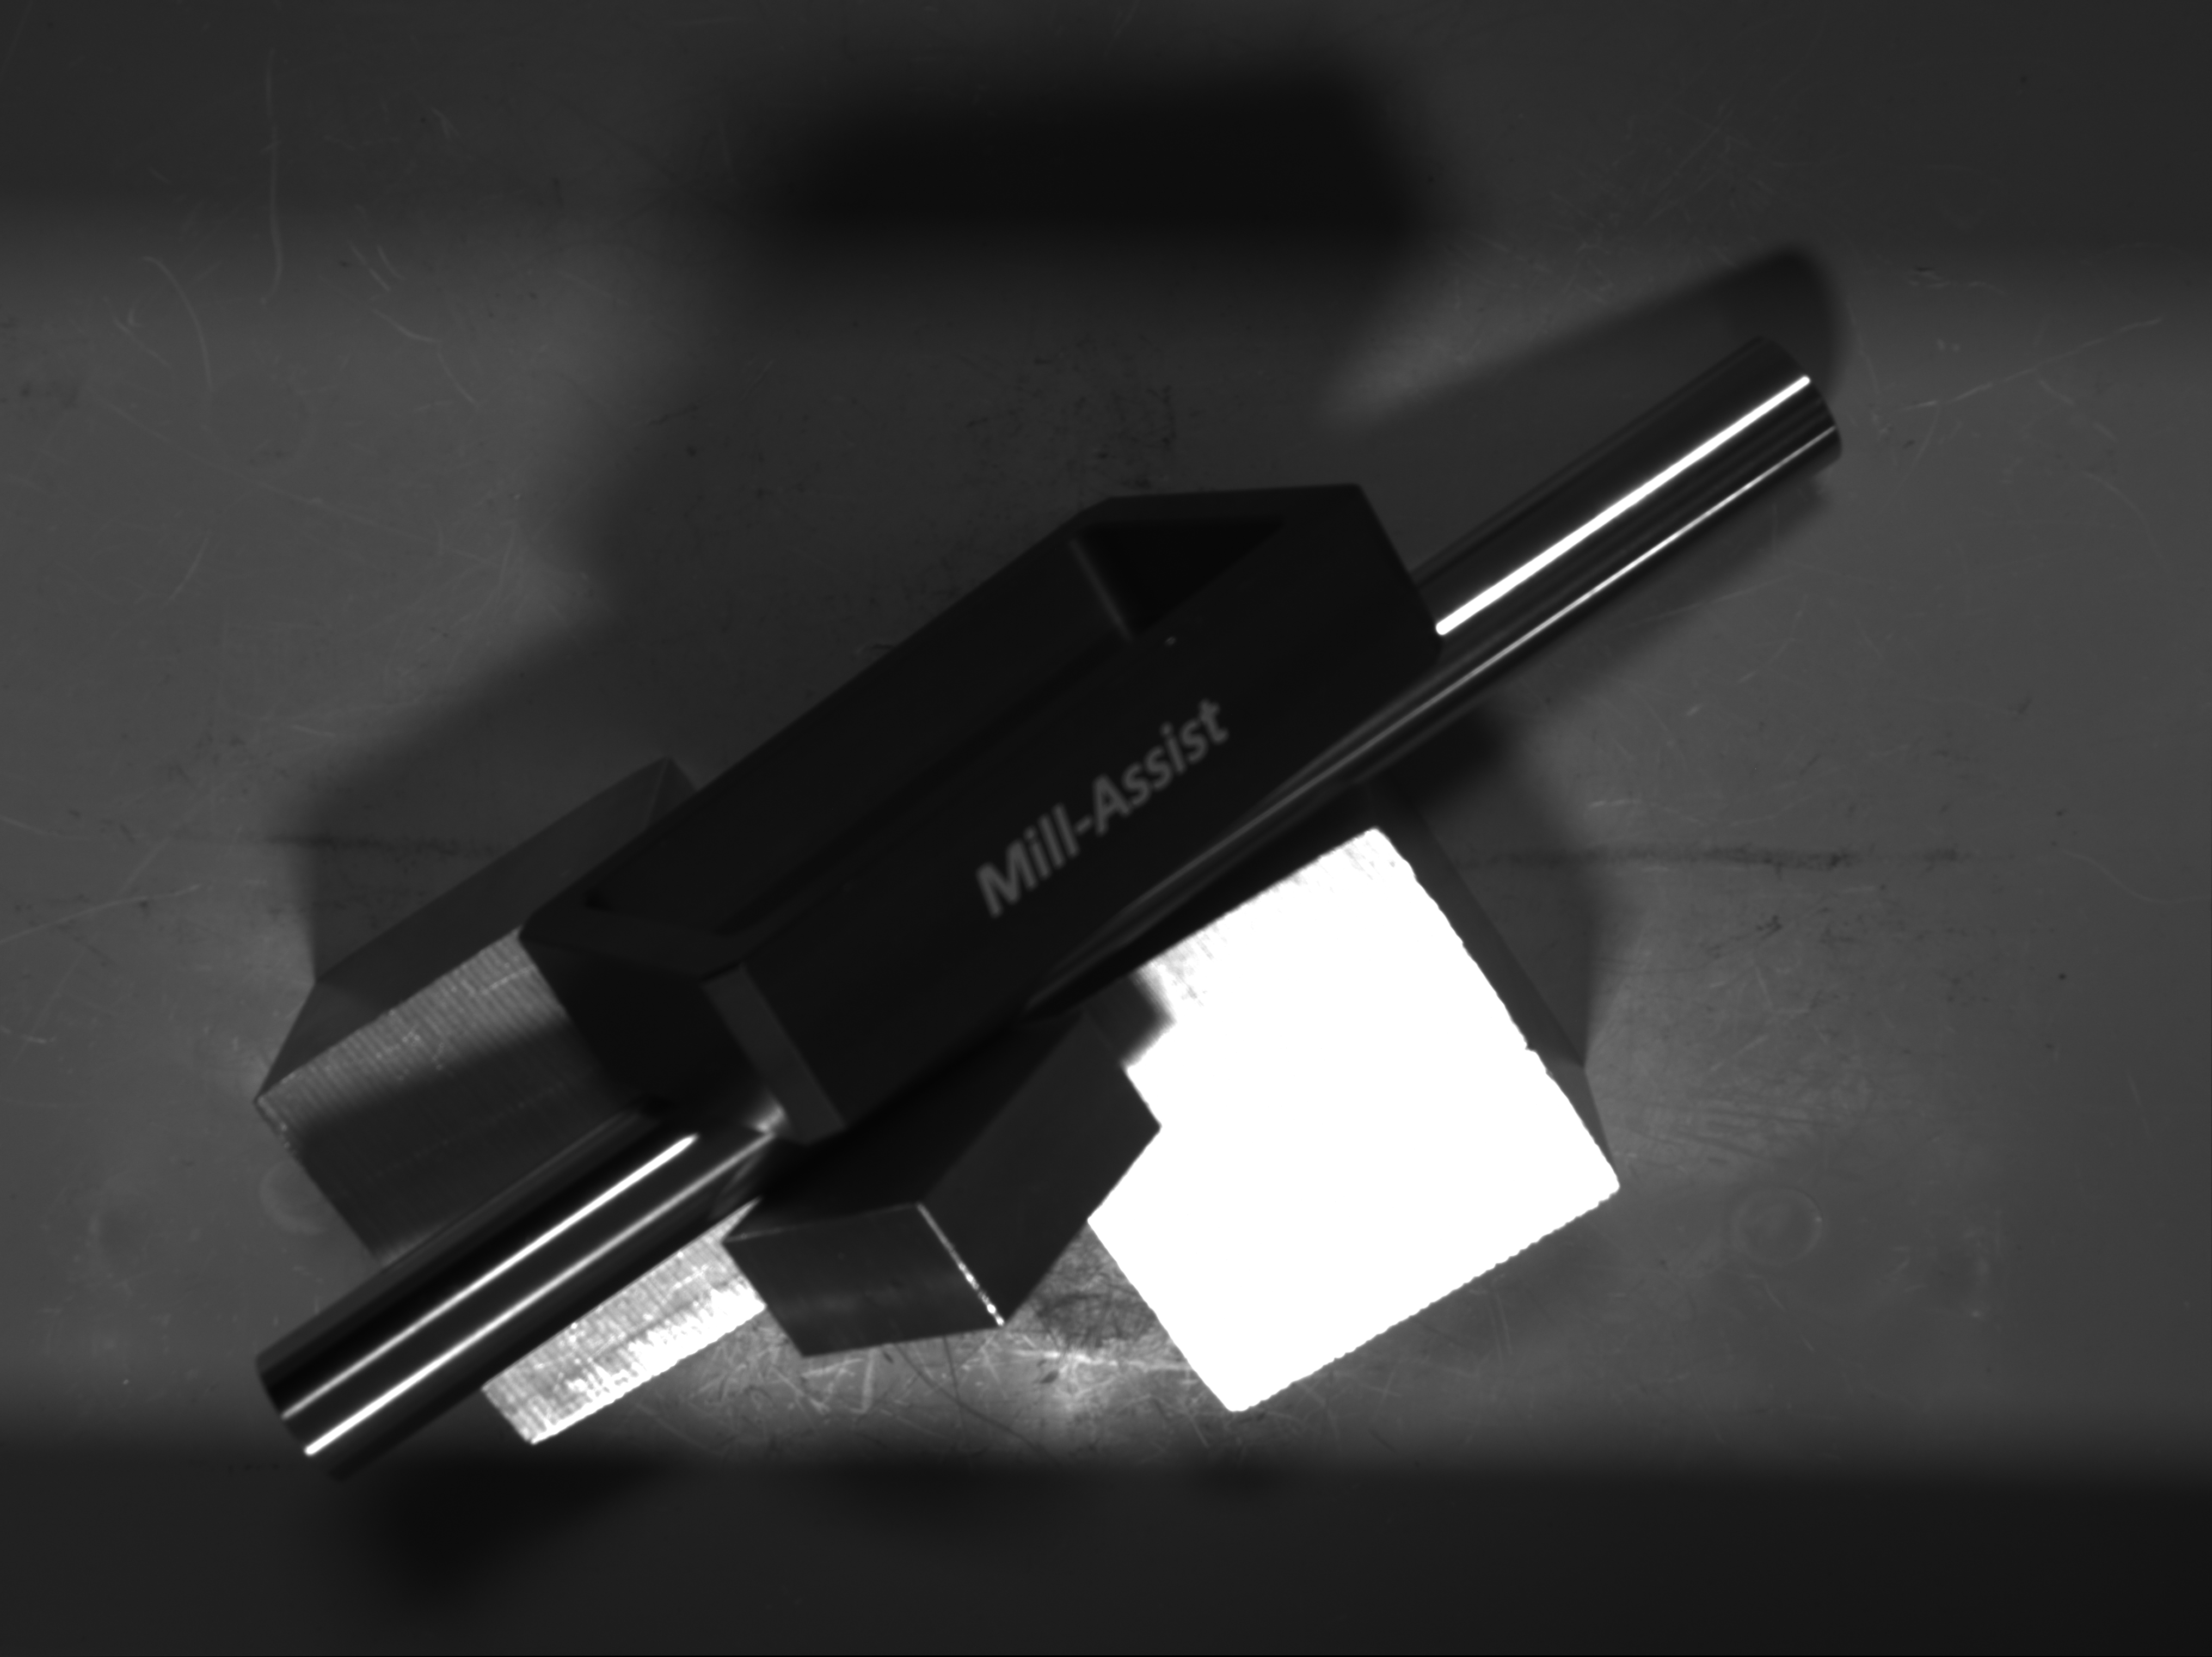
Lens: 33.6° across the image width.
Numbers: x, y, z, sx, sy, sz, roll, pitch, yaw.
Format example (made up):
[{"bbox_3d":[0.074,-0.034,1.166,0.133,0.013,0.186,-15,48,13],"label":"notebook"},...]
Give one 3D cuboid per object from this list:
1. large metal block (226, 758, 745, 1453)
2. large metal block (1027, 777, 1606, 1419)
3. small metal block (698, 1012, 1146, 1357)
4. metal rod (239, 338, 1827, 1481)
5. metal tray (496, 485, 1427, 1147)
[{"bbox_3d":[-0.093,0.048,0.643,0.080,0.050,0.080,-32,107,10],"label":"large metal block"},{"bbox_3d":[0.030,0.043,0.645,0.080,0.050,0.080,-32,107,10],"label":"large metal block"},{"bbox_3d":[-0.030,0.058,0.598,0.050,0.050,0.025,-15,114,44],"label":"small metal block"},{"bbox_3d":[-0.010,0.012,0.607,0.300,0.025,0.025,-34,107,-5],"label":"metal rod"},{"bbox_3d":[-0.024,-0.006,0.577,0.130,0.090,0.030,-38,110,-21],"label":"metal tray"}]
